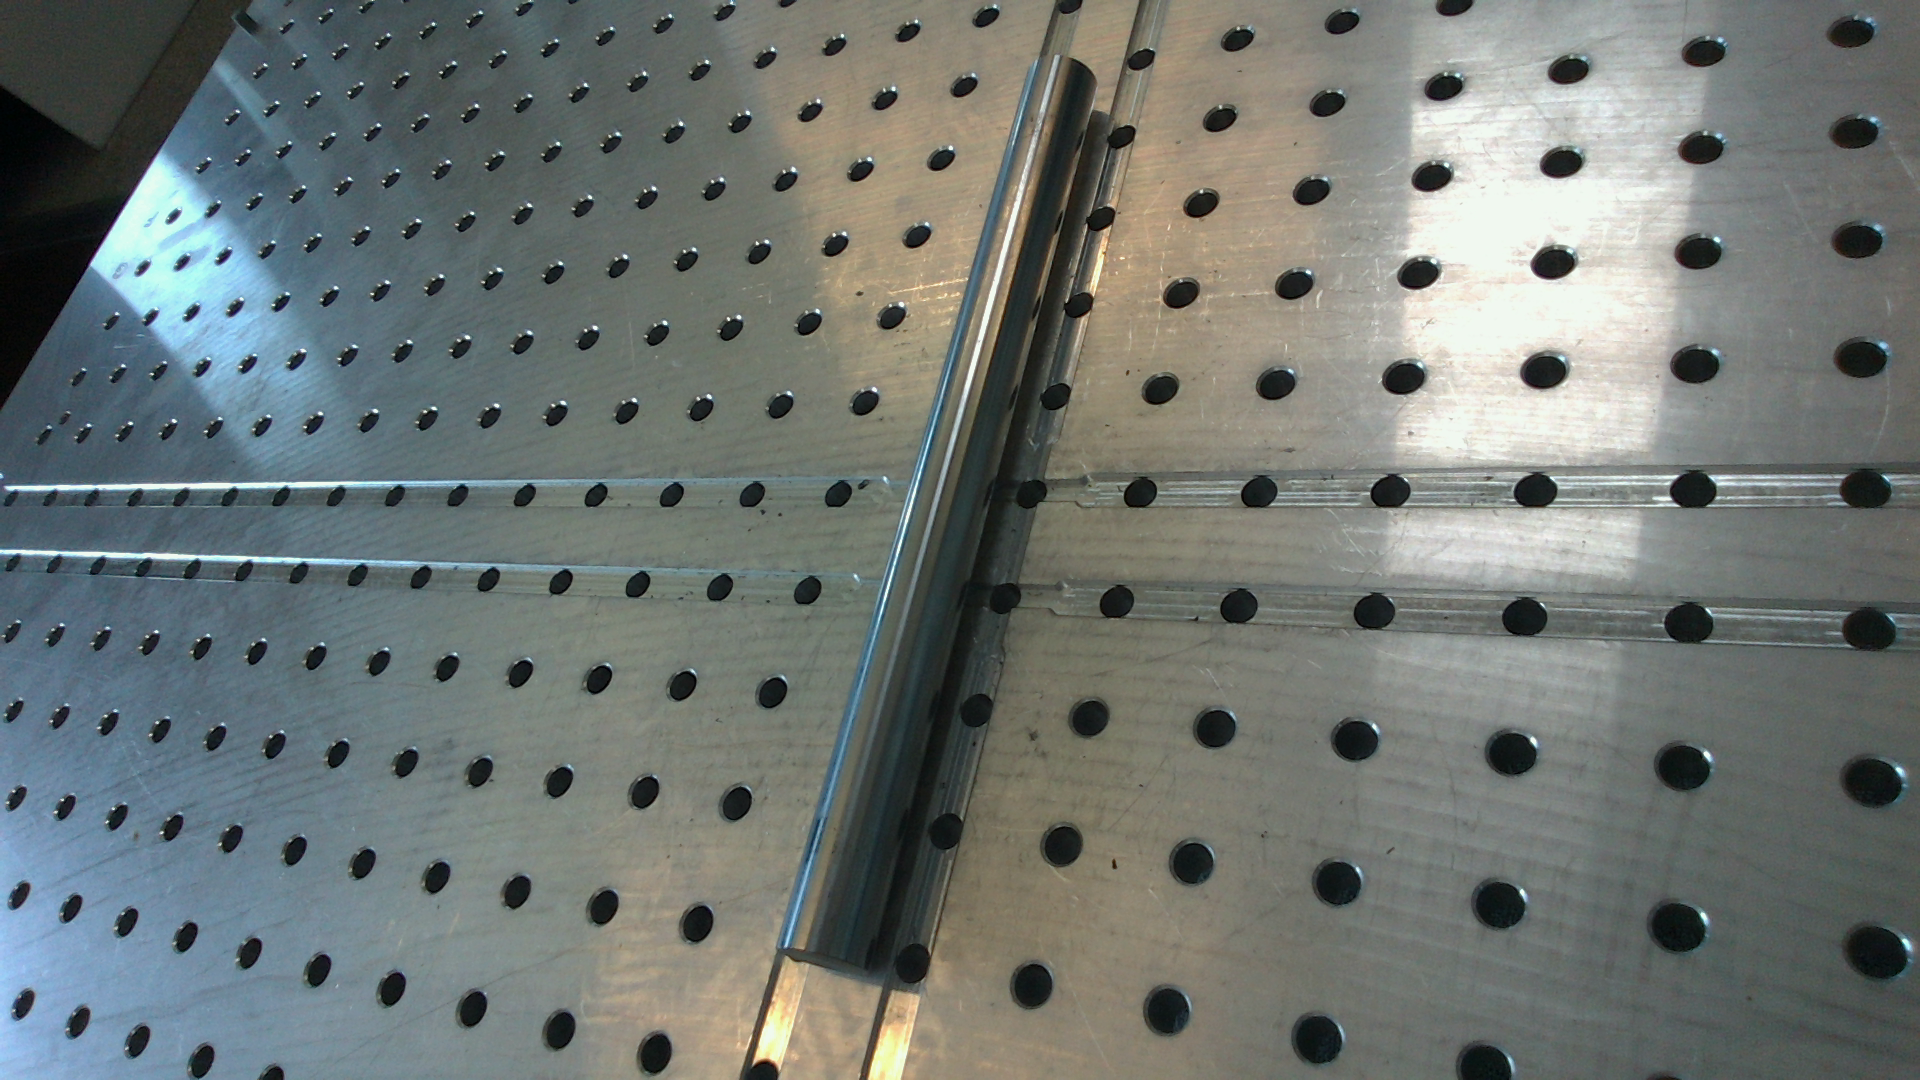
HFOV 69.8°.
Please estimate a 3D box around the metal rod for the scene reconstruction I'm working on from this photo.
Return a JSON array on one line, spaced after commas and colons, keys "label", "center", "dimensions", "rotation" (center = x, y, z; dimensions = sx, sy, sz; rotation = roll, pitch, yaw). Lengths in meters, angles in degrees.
[{"label": "metal rod", "center": [-0.001, -0.024, 0.413], "dimensions": [0.025, 0.025, 0.300], "rotation": [0, 62, 29]}]
